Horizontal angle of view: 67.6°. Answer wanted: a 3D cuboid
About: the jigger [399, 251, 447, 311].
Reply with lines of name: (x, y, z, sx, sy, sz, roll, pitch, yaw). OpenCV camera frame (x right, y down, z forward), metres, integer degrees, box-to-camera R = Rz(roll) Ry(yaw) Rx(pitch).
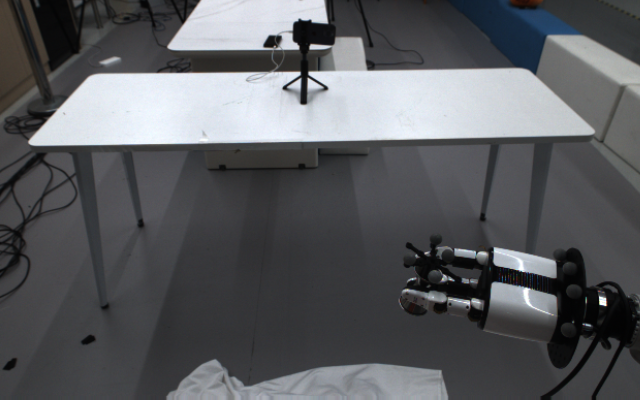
jigger: (0.141, 0.124, 0.685, 0.043, 0.071, 0.043, 10, 35, -7)
